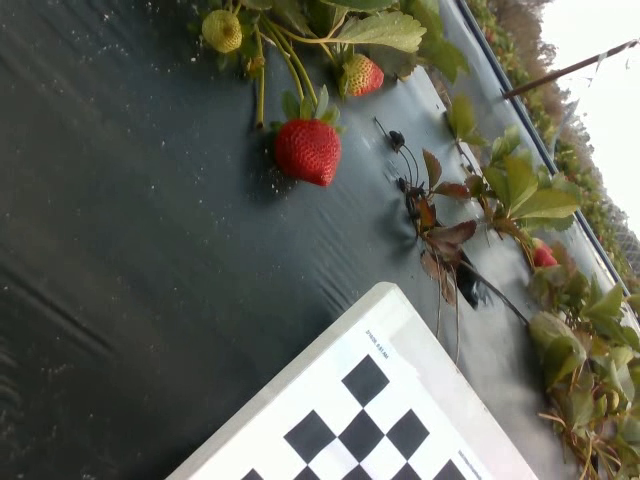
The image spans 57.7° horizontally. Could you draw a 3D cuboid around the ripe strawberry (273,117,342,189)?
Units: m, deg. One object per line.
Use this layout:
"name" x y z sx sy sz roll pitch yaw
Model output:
"ripe strawberry" -0.005 -0.050 0.336 0.045 0.042 0.055 1 27 -19
